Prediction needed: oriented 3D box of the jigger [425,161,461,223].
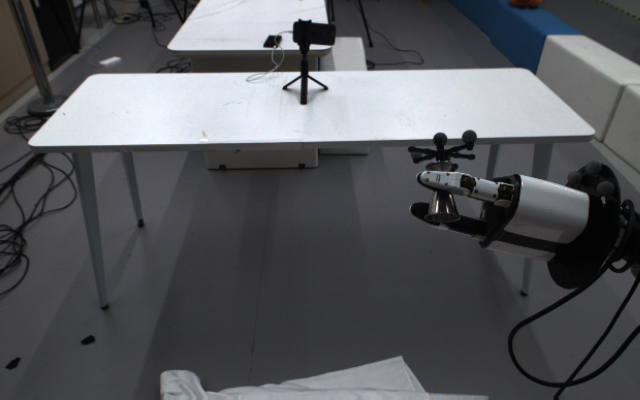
[{"bbox_3d":[0.151,-0.011,0.605,0.043,0.043,0.071,3,75,1],"label":"jigger"}]
